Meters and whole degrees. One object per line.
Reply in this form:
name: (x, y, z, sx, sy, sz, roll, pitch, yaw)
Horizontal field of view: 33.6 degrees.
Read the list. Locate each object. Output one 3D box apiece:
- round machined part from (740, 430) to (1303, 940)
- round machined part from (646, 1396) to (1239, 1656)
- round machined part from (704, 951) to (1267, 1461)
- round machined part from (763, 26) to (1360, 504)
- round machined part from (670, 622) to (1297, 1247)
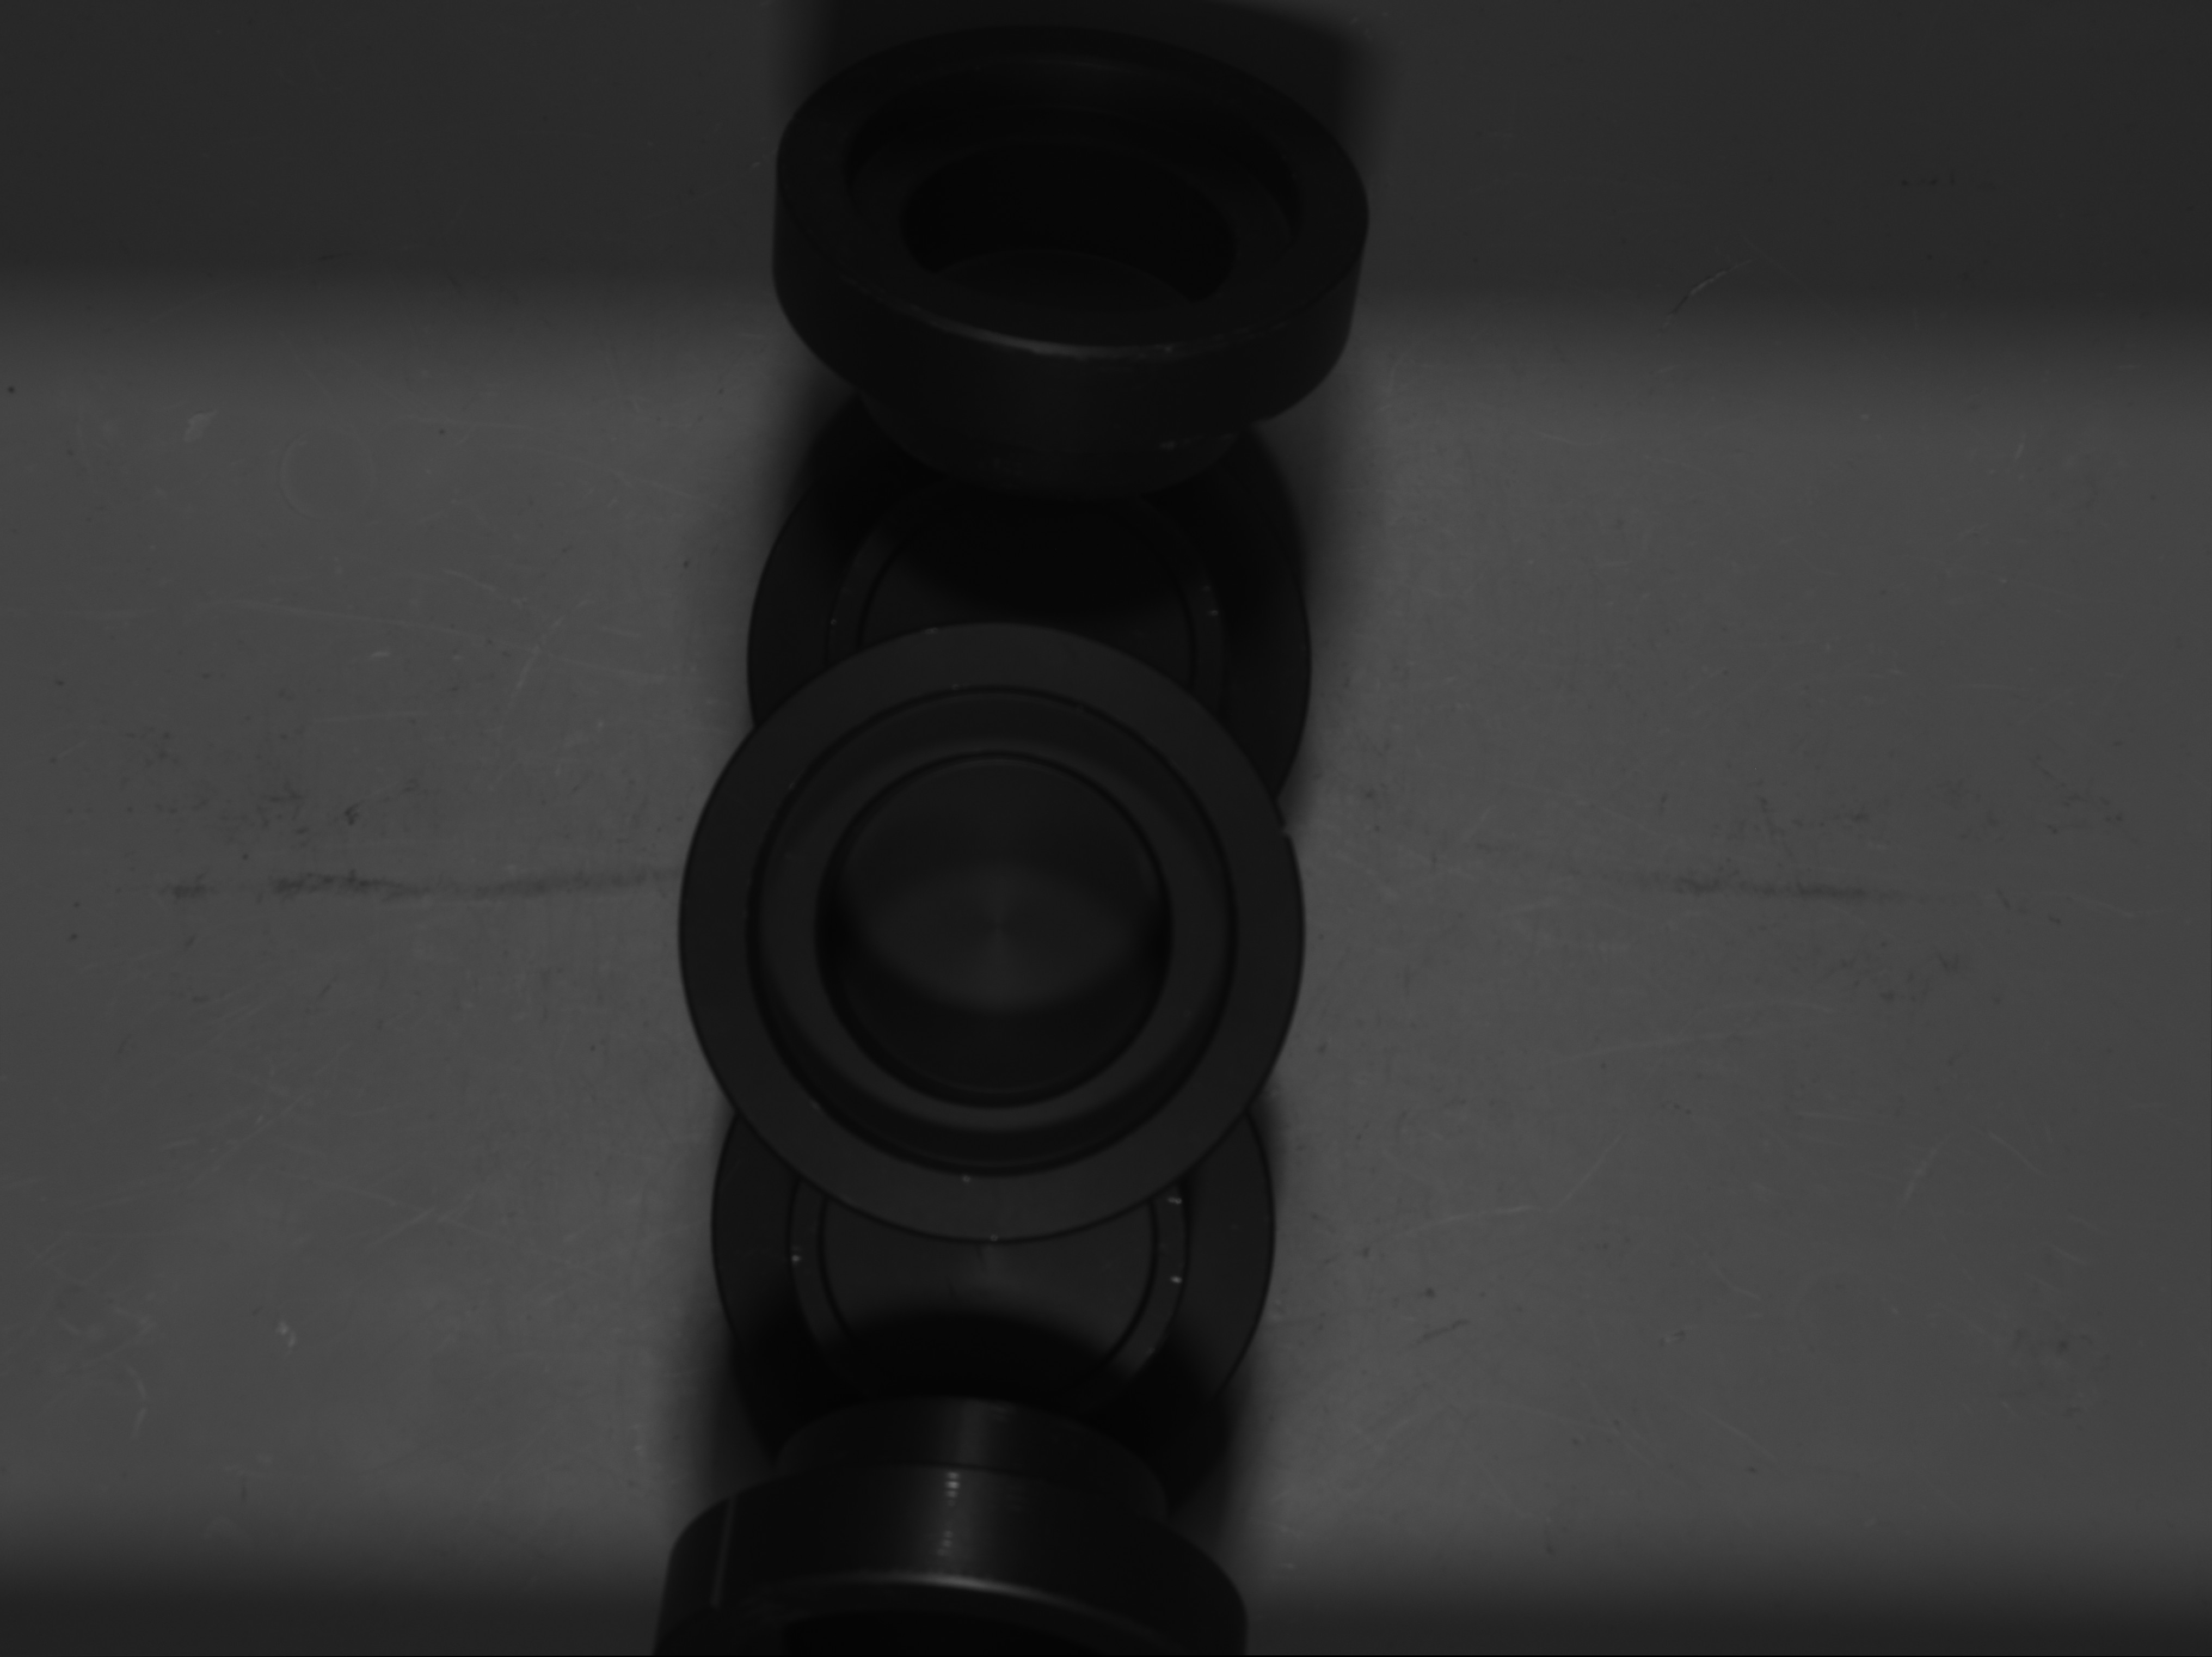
round machined part: (-0.015, -0.029, 0.635, 0.098, 0.042, 0.098, 0, 90, 0)
round machined part: (-0.026, 0.130, 0.617, 0.098, 0.098, 0.042, 6, 52, 0)
round machined part: (-0.021, 0.070, 0.635, 0.098, 0.042, 0.098, 0, 90, 0)
round machined part: (-0.009, -0.092, 0.617, 0.098, 0.098, 0.042, 7, 132, 0)
round machined part: (-0.019, 0.017, 0.592, 0.098, 0.042, 0.098, 0, 90, 0)
